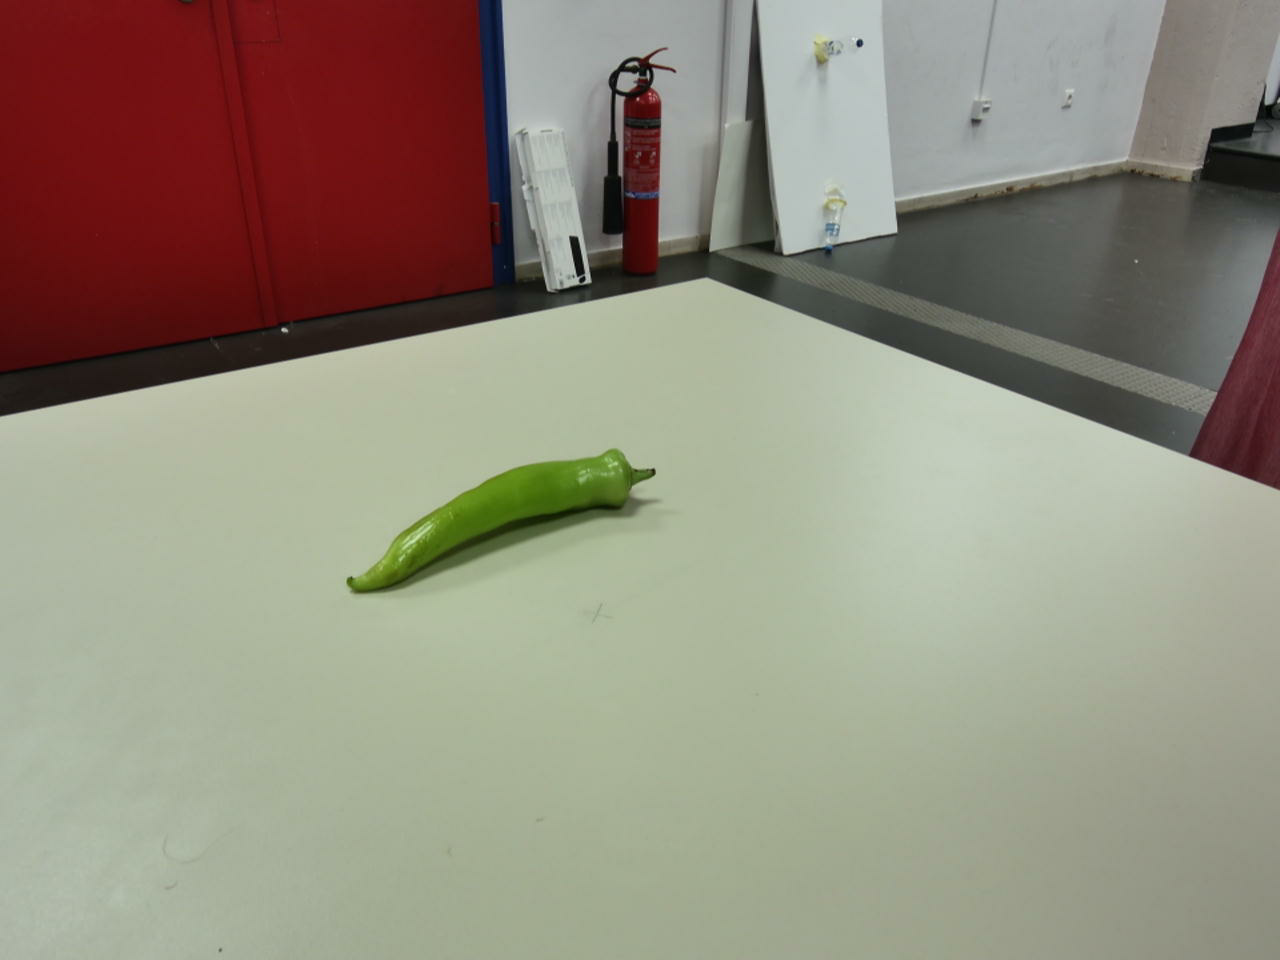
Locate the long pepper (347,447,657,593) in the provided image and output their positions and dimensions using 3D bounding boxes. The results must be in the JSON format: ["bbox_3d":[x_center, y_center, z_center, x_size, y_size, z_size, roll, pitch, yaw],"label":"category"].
[{"bbox_3d":[-0.079,0.016,0.580,0.197,0.038,0.047,-16,31,-31],"label":"long pepper"}]
